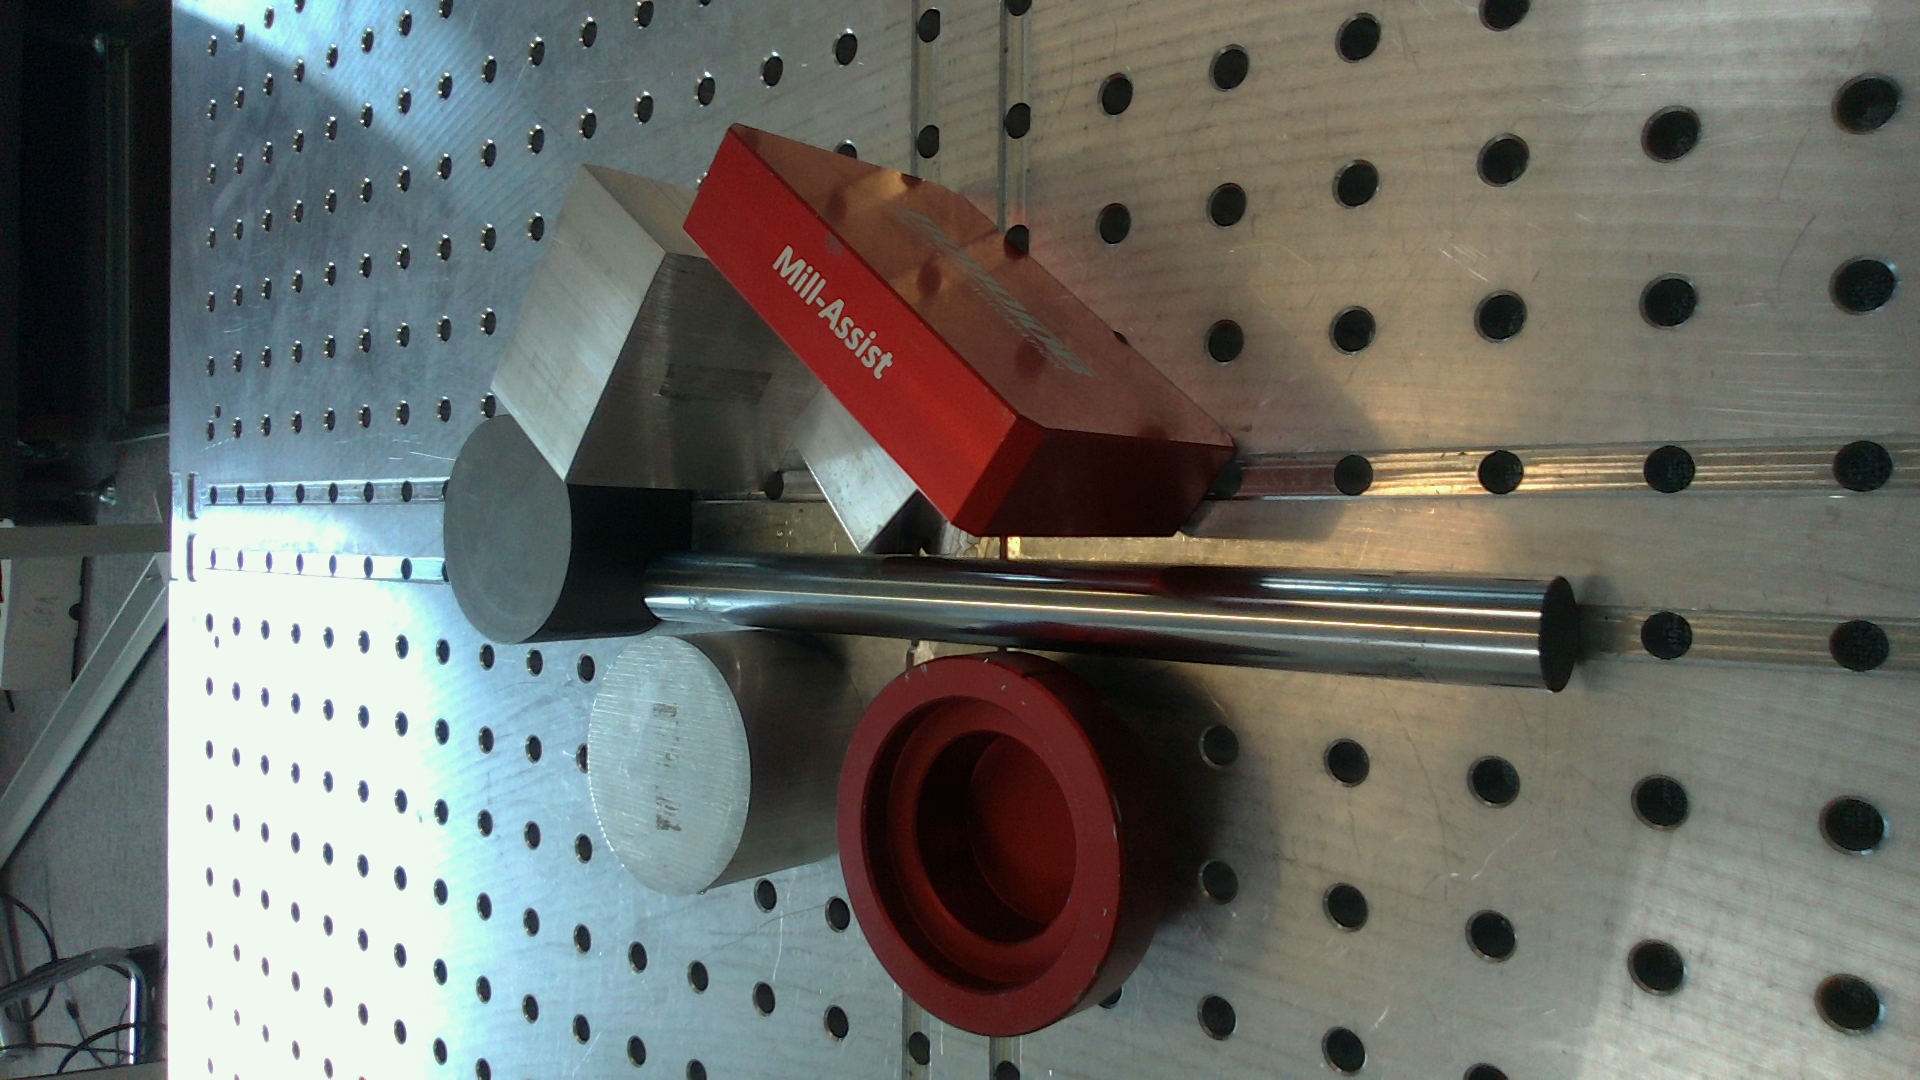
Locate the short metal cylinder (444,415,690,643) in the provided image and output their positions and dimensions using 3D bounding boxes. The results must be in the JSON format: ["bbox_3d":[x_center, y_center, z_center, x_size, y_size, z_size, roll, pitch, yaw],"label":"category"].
[{"bbox_3d":[-0.144,-0.004,0.502,0.080,0.050,0.080,0,90,40],"label":"short metal cylinder"}]

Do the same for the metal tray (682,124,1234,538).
[{"bbox_3d":[-0.001,-0.053,0.356,0.130,0.090,0.030,48,119,29],"label":"metal tray"}]

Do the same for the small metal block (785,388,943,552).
[{"bbox_3d":[-0.019,-0.032,0.415,0.050,0.025,0.050,-47,62,30],"label":"small metal block"}]

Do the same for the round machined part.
[{"bbox_3d":[0.015,0.079,0.374,0.098,0.042,0.098,0,90,40],"label":"round machined part"}]

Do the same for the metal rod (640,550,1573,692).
[{"bbox_3d":[0.012,0.018,0.388,0.299,0.025,0.025,1,91,40],"label":"metal rod"}]

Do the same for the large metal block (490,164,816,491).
[{"bbox_3d":[-0.089,-0.063,0.437,0.050,0.080,0.080,46,117,30],"label":"large metal block"}]

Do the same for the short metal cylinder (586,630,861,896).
[{"bbox_3d":[-0.076,0.070,0.445,0.080,0.050,0.080,0,90,40],"label":"short metal cylinder"}]
